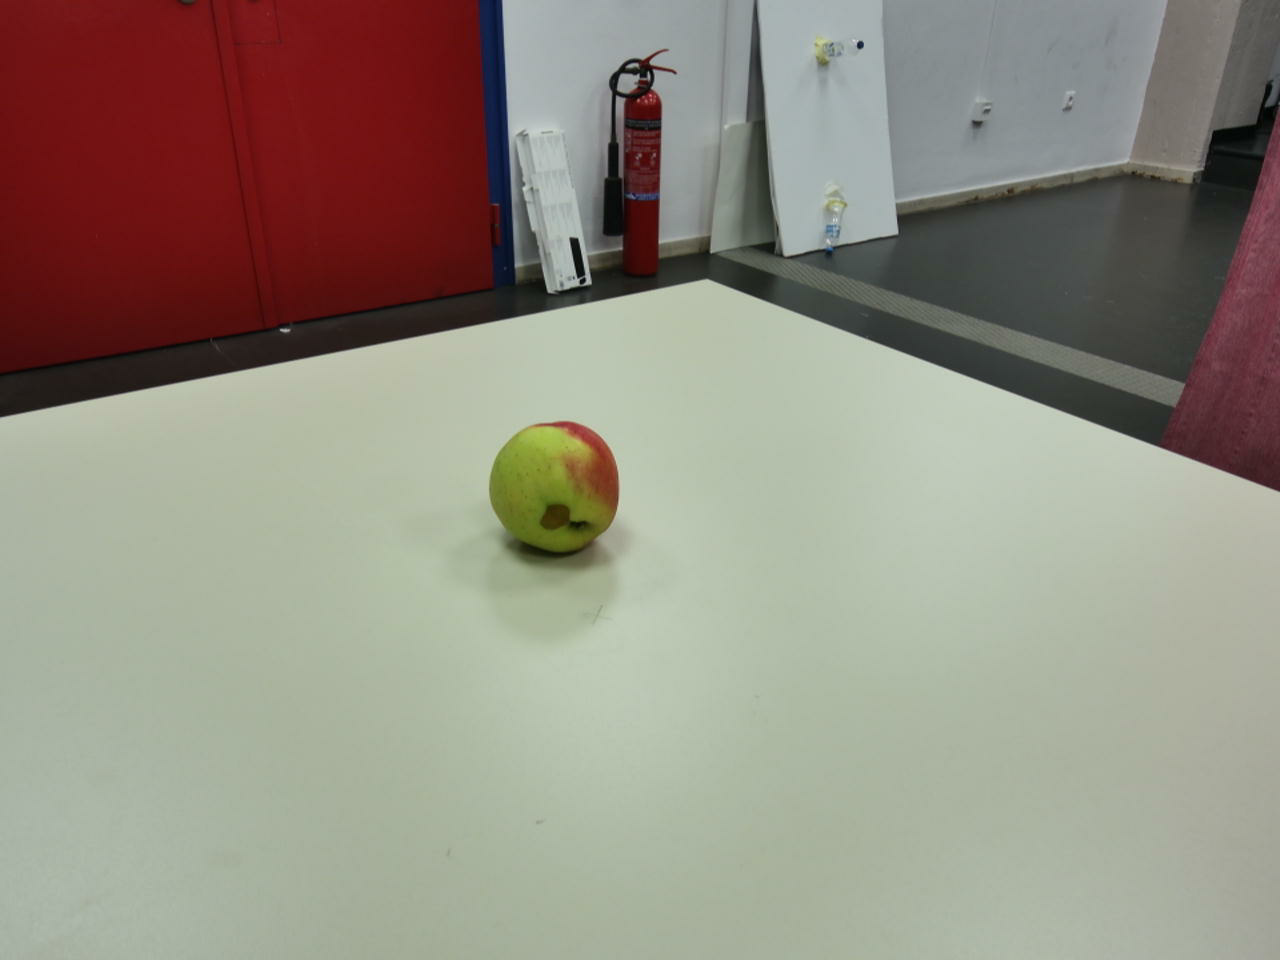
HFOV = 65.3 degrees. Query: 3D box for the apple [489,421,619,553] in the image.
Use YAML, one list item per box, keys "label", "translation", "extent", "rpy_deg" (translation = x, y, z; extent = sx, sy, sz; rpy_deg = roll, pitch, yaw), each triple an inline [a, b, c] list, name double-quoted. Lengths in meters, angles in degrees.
- label: "apple"
  translation: [-0.048, 0.003, 0.578]
  extent: [0.075, 0.074, 0.075]
  rpy_deg: [18, 30, 30]
